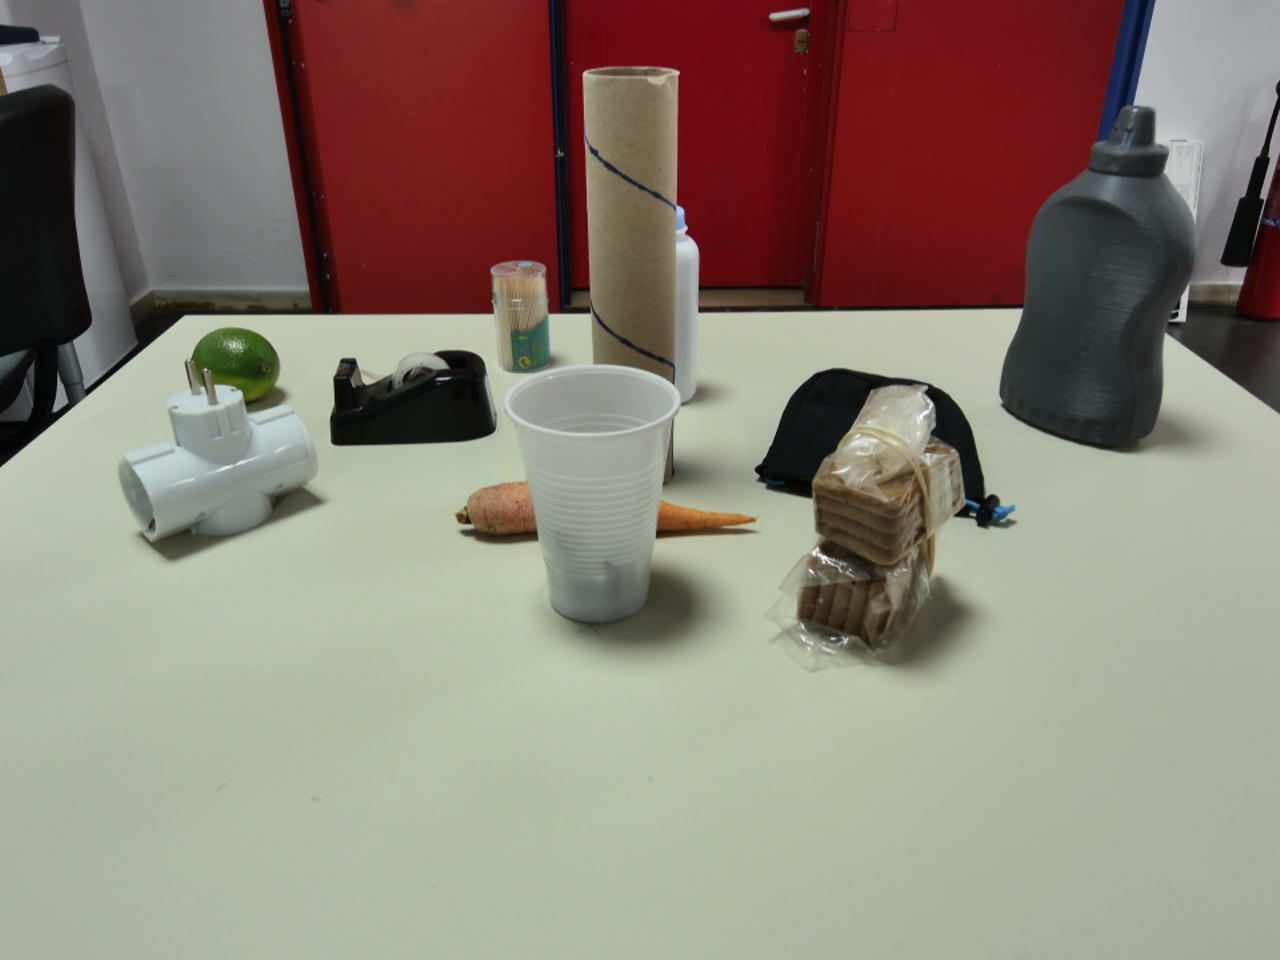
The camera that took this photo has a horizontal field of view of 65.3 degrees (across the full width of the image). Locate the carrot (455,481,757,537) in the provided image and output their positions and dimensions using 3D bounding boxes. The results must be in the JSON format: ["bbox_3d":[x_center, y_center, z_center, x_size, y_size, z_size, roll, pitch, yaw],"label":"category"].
[{"bbox_3d":[-0.018,0.015,0.546,0.163,0.029,0.031,0,26,0],"label":"carrot"}]
